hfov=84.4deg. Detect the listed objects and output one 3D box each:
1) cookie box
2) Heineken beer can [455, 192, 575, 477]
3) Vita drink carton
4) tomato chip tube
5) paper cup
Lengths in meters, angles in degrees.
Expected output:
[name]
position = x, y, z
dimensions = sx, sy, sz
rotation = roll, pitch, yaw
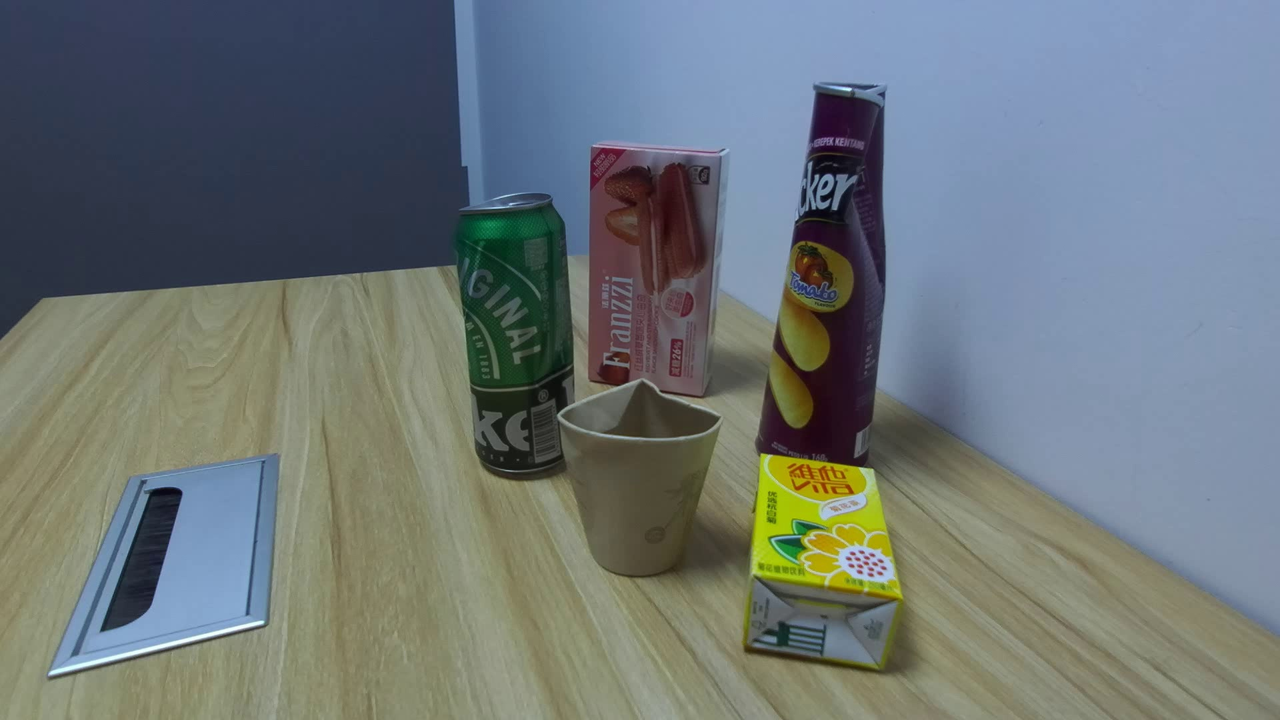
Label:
[cookie box]
position = 0.013, -0.068, 0.543
dimensions = 0.096, 0.184, 0.048
rotation = 7, 22, 13
[Heineken beer can]
position = -0.076, -0.013, 0.441
dimensions = 0.068, 0.168, 0.069
rotation = -10, 21, -20
[Vita drink carton]
position = 0.088, 0.095, 0.356
dimensions = 0.066, 0.043, 0.109
rotation = 8, 23, 8
[tomato chip tube]
position = 0.121, -0.044, 0.434
dimensions = 0.078, 0.235, 0.076
rotation = -7, 25, -20
[paper cup]
position = -0.001, 0.064, 0.366
dimensions = 0.071, 0.084, 0.066
rotation = 23, 31, 40
